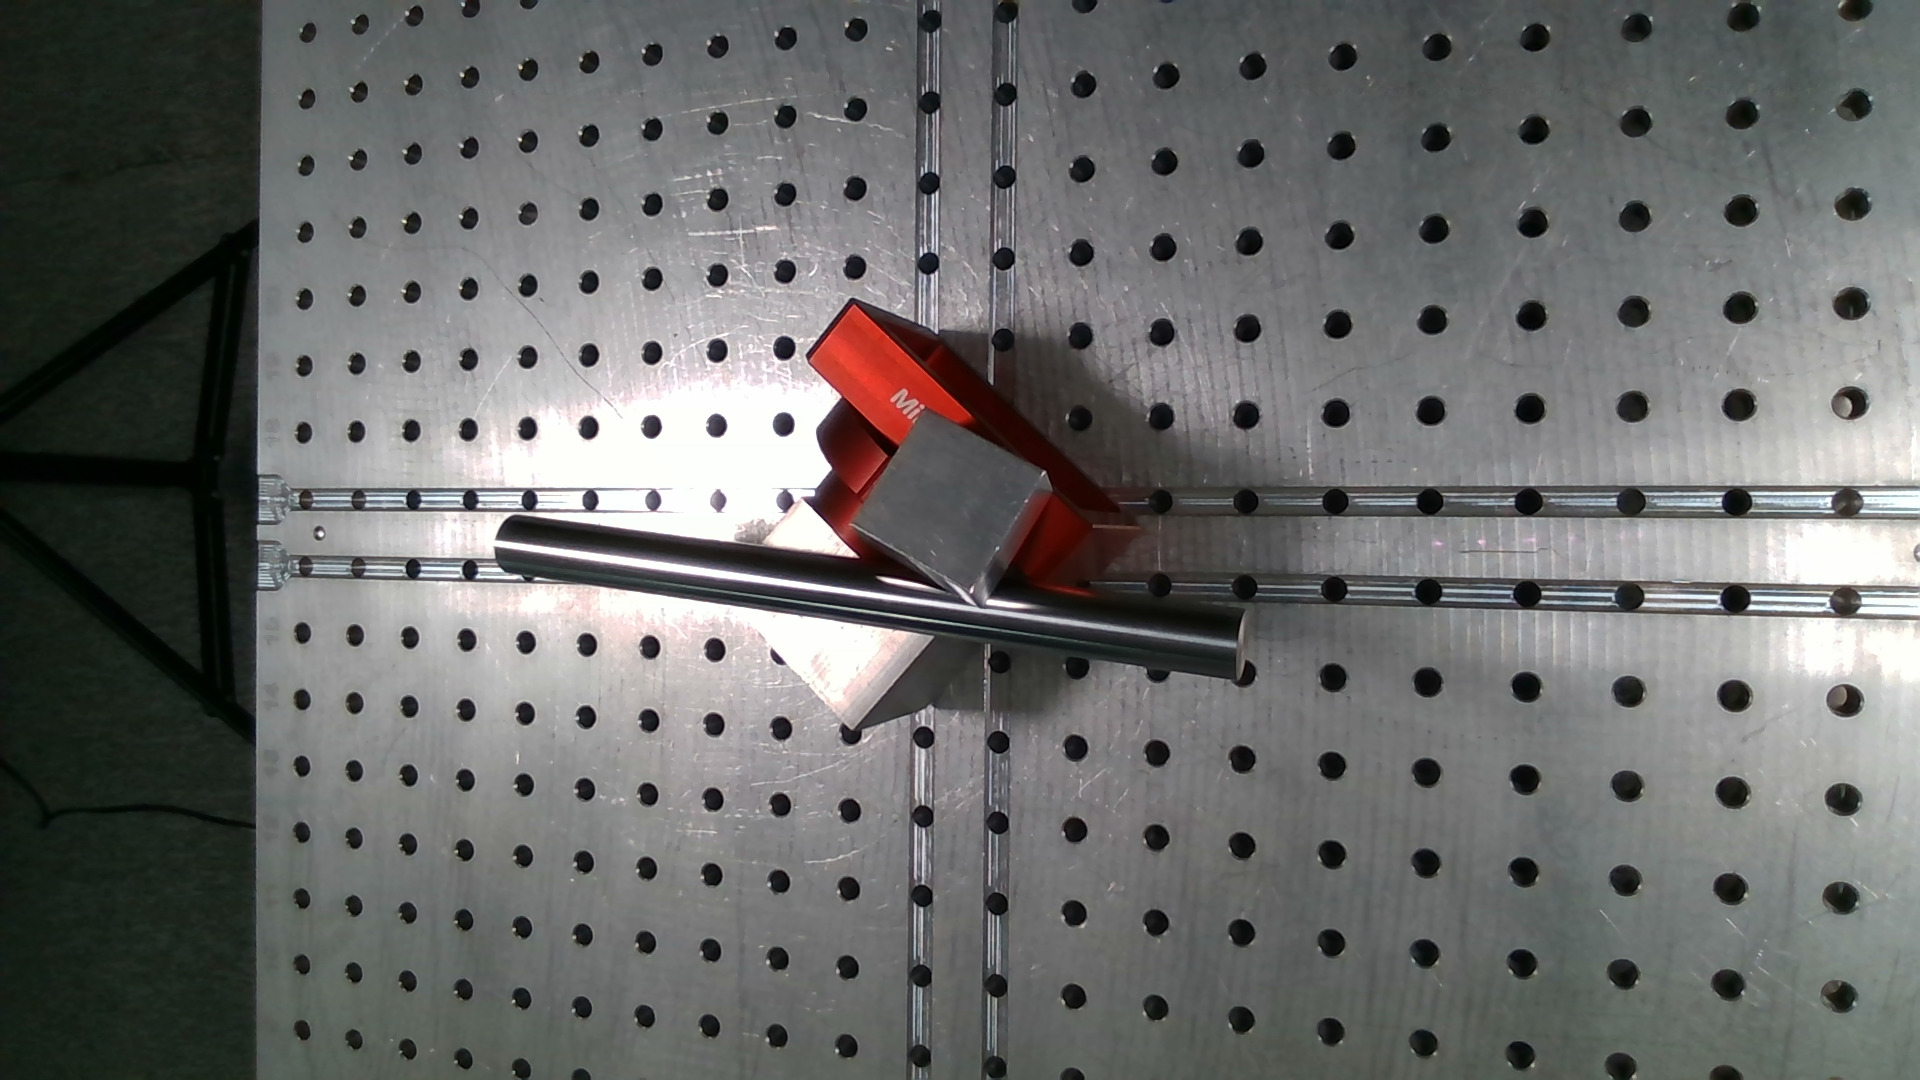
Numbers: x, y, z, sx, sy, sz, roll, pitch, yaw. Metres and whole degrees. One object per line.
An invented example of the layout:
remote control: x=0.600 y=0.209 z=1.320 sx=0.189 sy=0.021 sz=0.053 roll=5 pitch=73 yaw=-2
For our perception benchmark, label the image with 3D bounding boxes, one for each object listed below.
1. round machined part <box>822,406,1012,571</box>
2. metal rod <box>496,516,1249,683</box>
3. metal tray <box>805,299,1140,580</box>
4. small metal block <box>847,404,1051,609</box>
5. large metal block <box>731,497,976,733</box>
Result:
round machined part: x=-0.017 y=-0.016 z=0.559 sx=0.098 sy=0.098 sz=0.042 roll=44 pitch=104 yaw=15
metal rod: x=-0.044 y=0.019 z=0.519 sx=0.300 sy=0.025 sz=0.025 roll=7 pitch=93 yaw=20
metal tray: x=0.007 y=-0.039 z=0.550 sx=0.130 sy=0.090 sz=0.030 roll=45 pitch=104 yaw=14
small metal block: x=-0.003 y=-0.012 z=0.485 sx=0.050 sy=0.025 sz=0.050 roll=29 pitch=81 yaw=16
large metal block: x=-0.042 y=0.029 z=0.571 sx=0.080 sy=0.080 sz=0.050 roll=45 pitch=104 yaw=15
